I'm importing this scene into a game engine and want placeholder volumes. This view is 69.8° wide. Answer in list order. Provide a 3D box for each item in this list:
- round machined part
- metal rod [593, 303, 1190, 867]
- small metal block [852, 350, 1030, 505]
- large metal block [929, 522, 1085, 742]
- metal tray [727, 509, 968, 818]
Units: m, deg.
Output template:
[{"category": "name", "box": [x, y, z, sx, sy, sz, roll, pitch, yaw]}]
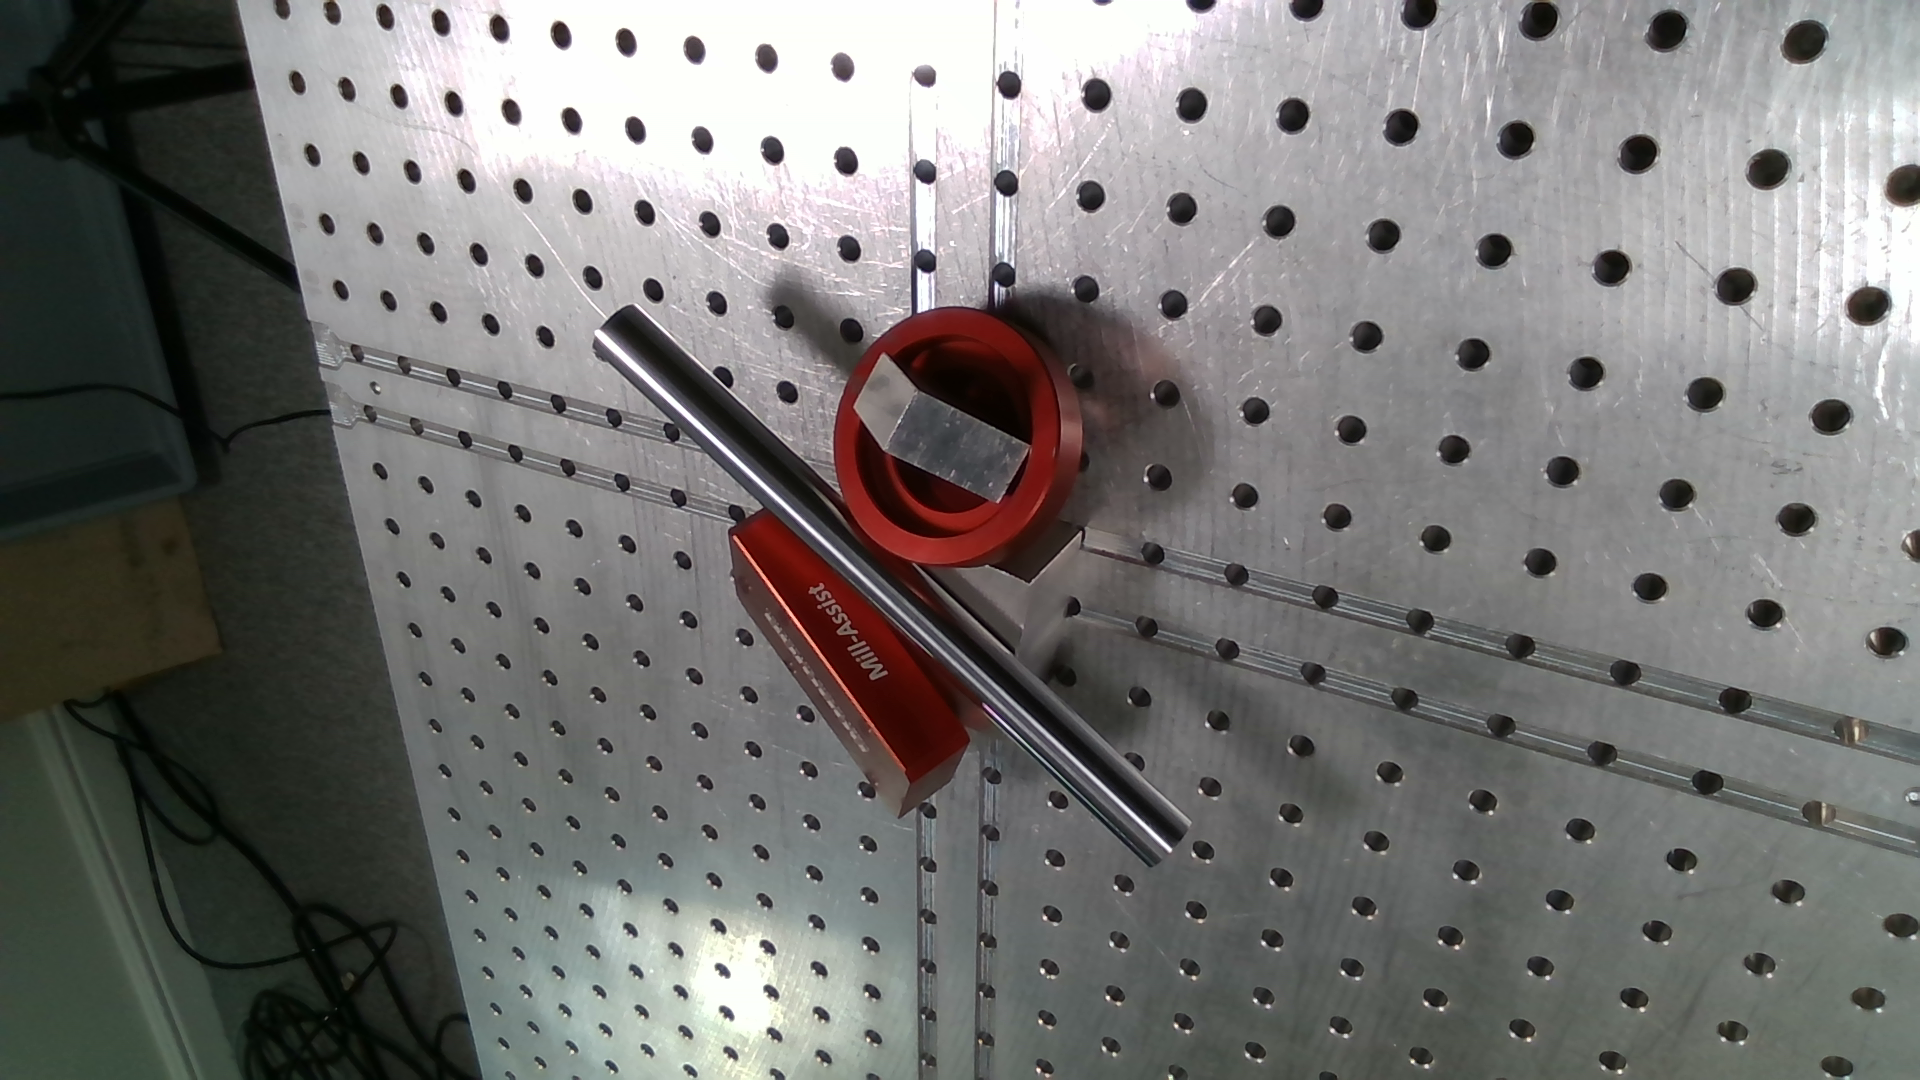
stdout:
[{"category": "round machined part", "box": [0.002, -0.039, 0.533, 0.098, 0.042, 0.098, 0, 90, 28]}, {"category": "metal rod", "box": [-0.029, 0.015, 0.544, 0.300, 0.025, 0.025, 43, 129, 4]}, {"category": "small metal block", "box": [-0.008, -0.042, 0.513, 0.050, 0.050, 0.025, 25, 104, -26]}, {"category": "large metal block", "box": [-0.001, 0.026, 0.581, 0.080, 0.050, 0.080, 22, 125, 20]}, {"category": "metal tray", "box": [-0.051, 0.052, 0.596, 0.130, 0.030, 0.090, 52, 162, 13]}]
